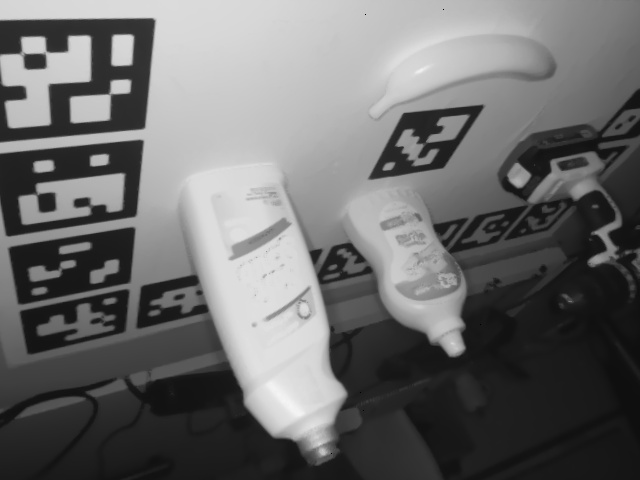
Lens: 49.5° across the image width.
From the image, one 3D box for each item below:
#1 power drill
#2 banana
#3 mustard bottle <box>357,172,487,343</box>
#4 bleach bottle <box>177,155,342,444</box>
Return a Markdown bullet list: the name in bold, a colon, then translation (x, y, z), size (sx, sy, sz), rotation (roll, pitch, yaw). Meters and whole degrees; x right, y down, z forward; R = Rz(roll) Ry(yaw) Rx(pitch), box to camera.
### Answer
- **power drill**: translation (0.307, -0.021, 0.725), size (0.187, 0.187, 0.057), rotation (-18, 148, -20)
- **banana**: translation (0.131, -0.161, 0.576), size (0.200, 0.039, 0.073), rotation (-17, 146, -20)
- **mustard bottle**: translation (0.114, 0.019, 0.704), size (0.097, 0.191, 0.058), rotation (-14, 147, -14)
- **bleach bottle**: translation (-0.039, 0.041, 0.564), size (0.104, 0.251, 0.067), rotation (-6, 144, -28)
